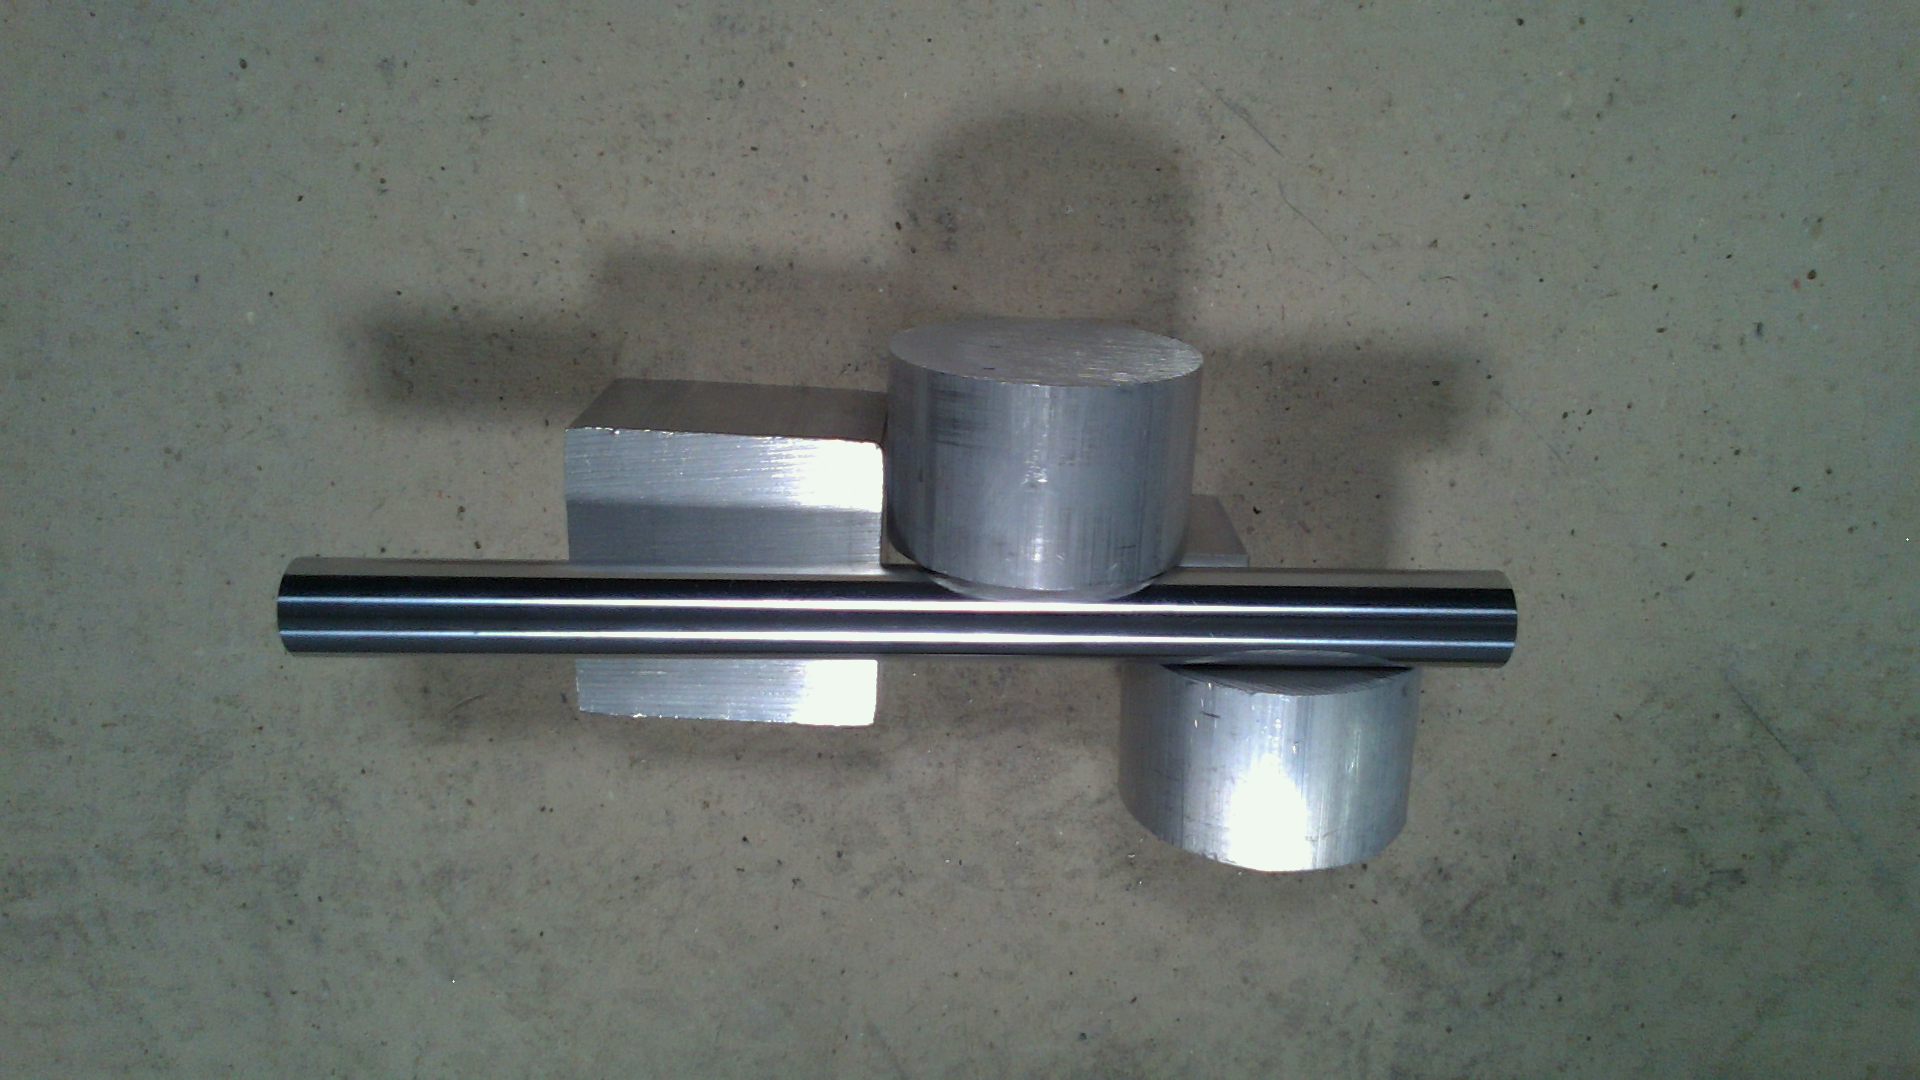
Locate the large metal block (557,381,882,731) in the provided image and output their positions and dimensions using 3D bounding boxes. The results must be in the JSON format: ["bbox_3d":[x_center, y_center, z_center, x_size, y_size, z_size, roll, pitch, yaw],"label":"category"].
[{"bbox_3d":[-0.062,0.003,0.378,0.080,0.050,0.080,3,110,-1],"label":"large metal block"}]

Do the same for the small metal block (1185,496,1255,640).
[{"bbox_3d":[0.051,0.007,0.382,0.050,0.050,0.025,1,110,0],"label":"small metal block"}]

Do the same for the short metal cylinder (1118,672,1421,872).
[{"bbox_3d":[0.085,0.048,0.382,0.080,0.080,0.050,0,110,0],"label":"short metal cylinder"}]

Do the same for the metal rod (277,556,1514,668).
[{"bbox_3d":[-0.014,0.018,0.346,0.300,0.025,0.025,1,110,-2],"label":"metal rod"}]

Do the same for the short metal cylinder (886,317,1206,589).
[{"bbox_3d":[0.021,-0.026,0.356,0.080,0.080,0.050,2,110,-1],"label":"short metal cylinder"}]
